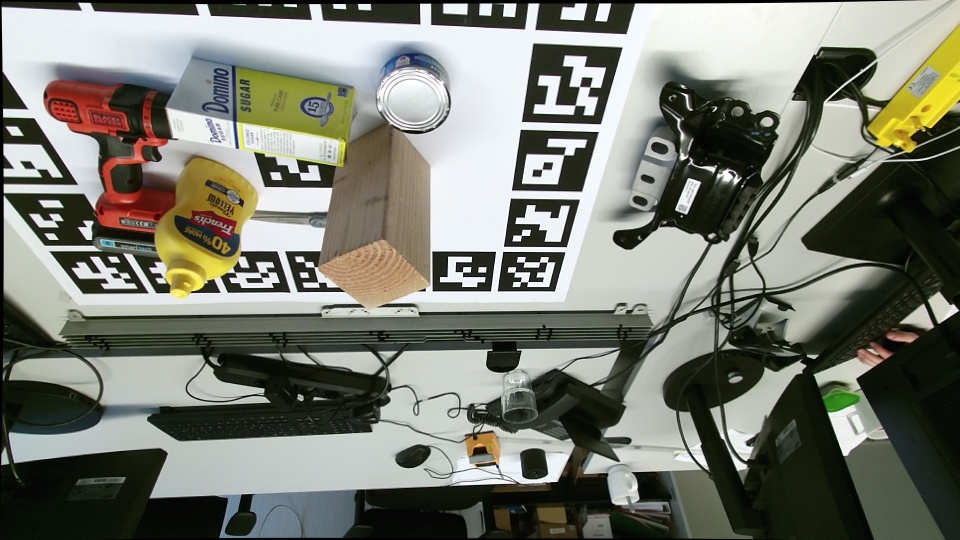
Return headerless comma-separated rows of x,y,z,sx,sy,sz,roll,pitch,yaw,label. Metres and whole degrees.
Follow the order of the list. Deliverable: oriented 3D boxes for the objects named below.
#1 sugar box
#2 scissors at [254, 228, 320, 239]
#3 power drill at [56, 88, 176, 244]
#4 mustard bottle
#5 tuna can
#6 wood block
-0.246,-0.167,0.597,0.177,0.092,0.045,10,138,-13,sugar box
-0.219,-0.054,0.770,0.204,0.016,0.088,1,140,-7,scissors
-0.396,-0.118,0.656,0.185,0.057,0.187,9,128,-16,power drill
-0.348,-0.041,0.657,0.058,0.190,0.096,-30,130,22,mustard bottle
-0.081,-0.190,0.625,0.086,0.033,0.086,-2,135,-2,tuna can
-0.126,-0.063,0.648,0.091,0.205,0.090,-20,133,15,wood block
